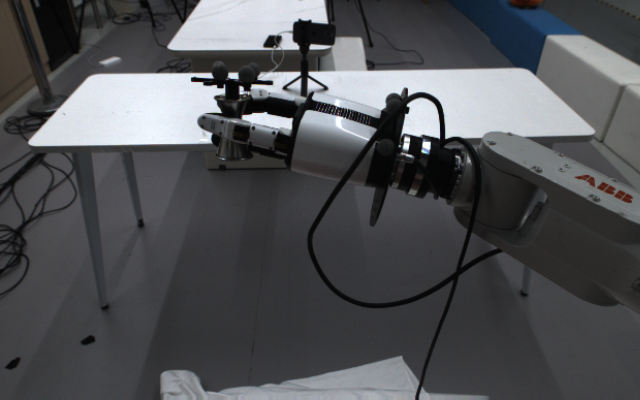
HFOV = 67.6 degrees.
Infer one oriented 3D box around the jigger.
[{"bbox_3d":[-0.098,-0.084,0.554,0.043,0.071,0.043,2,20,-1],"label":"jigger"}]
